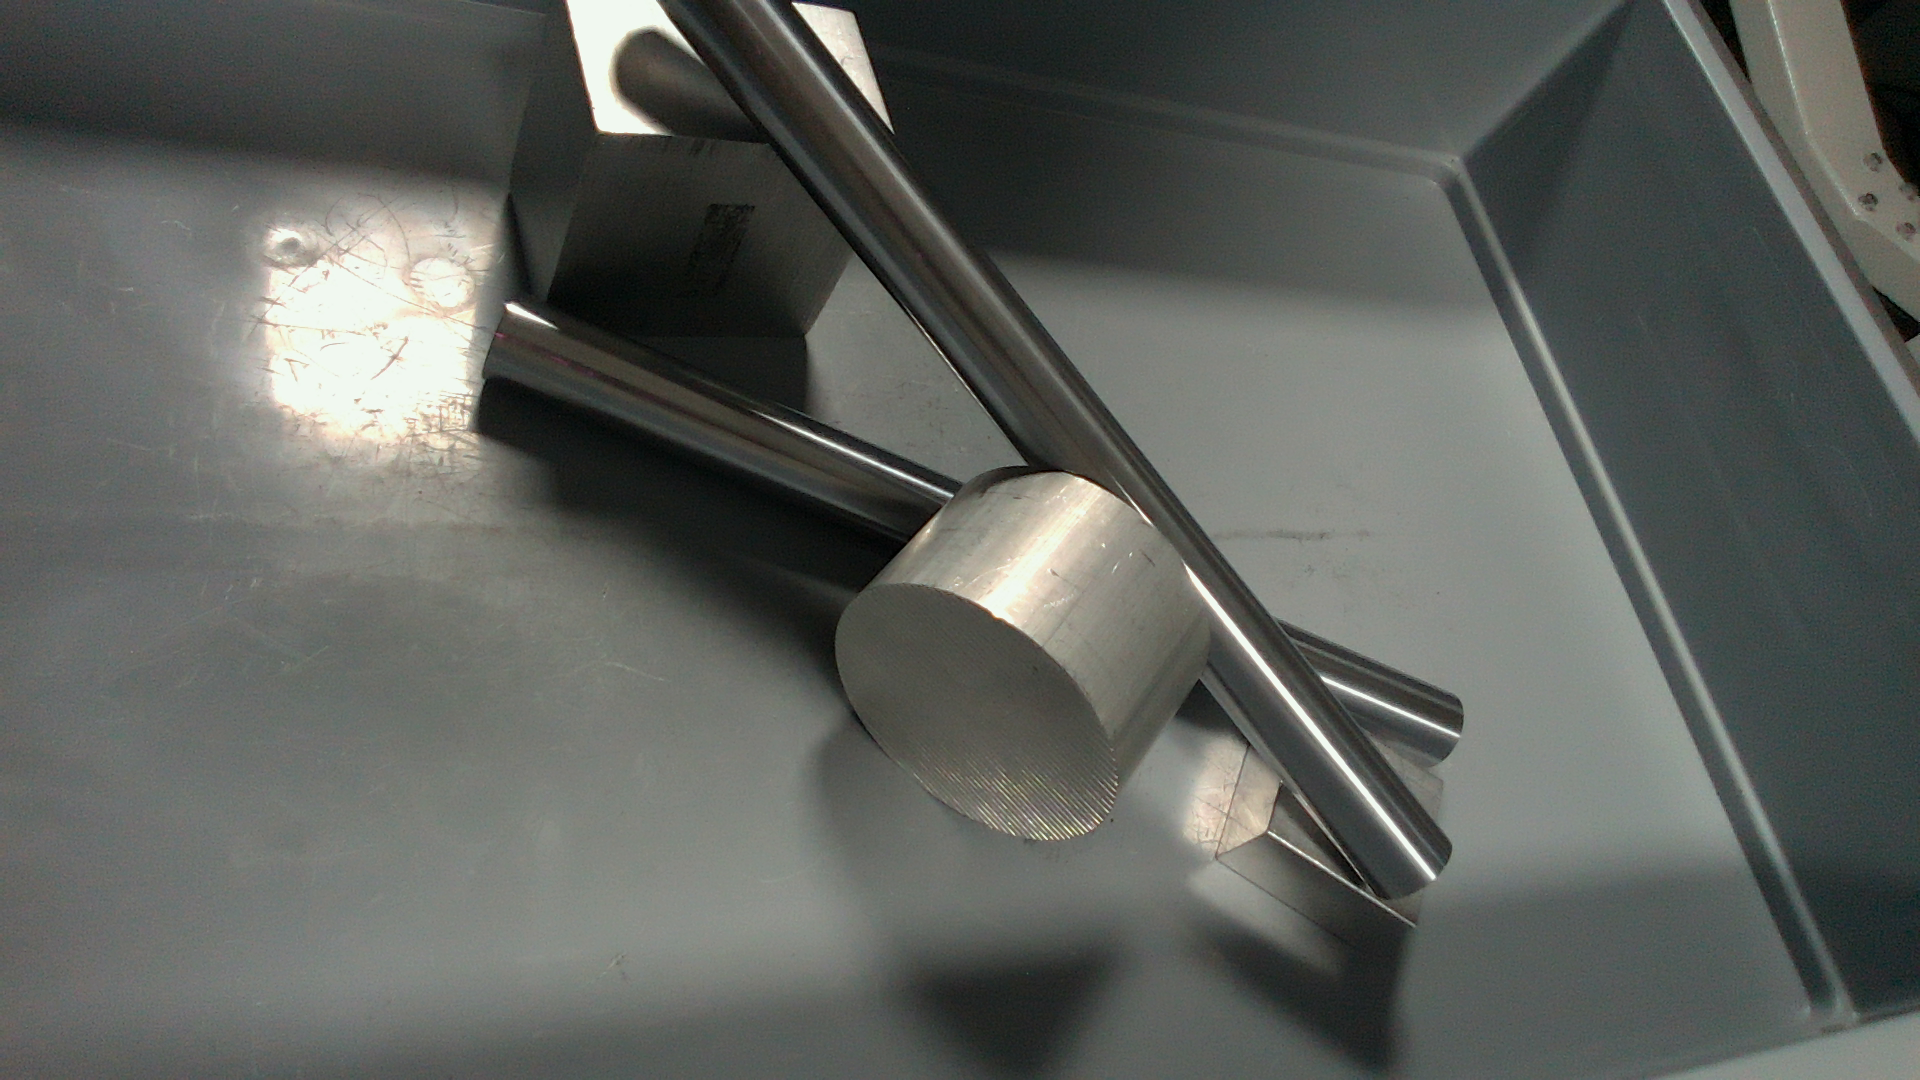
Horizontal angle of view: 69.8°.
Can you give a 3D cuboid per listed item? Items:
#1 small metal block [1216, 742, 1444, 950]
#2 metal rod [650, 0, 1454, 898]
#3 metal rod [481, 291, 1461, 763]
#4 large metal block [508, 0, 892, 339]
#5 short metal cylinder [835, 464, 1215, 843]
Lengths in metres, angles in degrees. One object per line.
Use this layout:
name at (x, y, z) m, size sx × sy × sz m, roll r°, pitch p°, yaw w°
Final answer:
small metal block at (0.108, 0.081, 0.397) m, size 0.050 × 0.025 × 0.050 m, roll 33°, pitch 51°, yaw -7°
metal rod at (0.026, -0.028, 0.345) m, size 0.300 × 0.025 × 0.025 m, roll 50°, pitch 50°, yaw -9°
metal rod at (0.015, 0.003, 0.395) m, size 0.301 × 0.025 × 0.025 m, roll 23°, pitch 53°, yaw -15°
large metal block at (-0.073, -0.100, 0.376) m, size 0.080 × 0.080 × 0.050 m, roll -4°, pitch 63°, yaw -30°
short metal cylinder at (0.016, 0.028, 0.343) m, size 0.080 × 0.080 × 0.050 m, roll 42°, pitch 51°, yaw 1°
